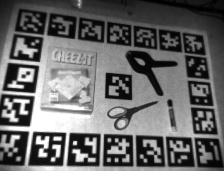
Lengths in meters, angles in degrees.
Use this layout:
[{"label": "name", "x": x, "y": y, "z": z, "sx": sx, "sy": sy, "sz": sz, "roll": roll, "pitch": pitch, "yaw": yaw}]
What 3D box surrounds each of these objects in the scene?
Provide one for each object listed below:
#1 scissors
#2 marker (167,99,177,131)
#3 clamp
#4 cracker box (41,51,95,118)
[{"label": "scissors", "x": 0.081, "y": 0.095, "z": 0.772, "sx": 0.204, "sy": 0.016, "sz": 0.087, "roll": -25, "pitch": 76, "yaw": -22}, {"label": "marker", "x": 0.222, "y": 0.107, "z": 0.797, "sx": 0.020, "sy": 0.019, "sz": 0.120, "roll": 0, "pitch": 70, "yaw": -11}, {"label": "clamp", "x": 0.129, "y": -0.077, "z": 0.849, "sx": 0.203, "sy": 0.036, "sz": 0.166, "roll": 32, "pitch": 66, "yaw": 0}, {"label": "cracker box", "x": -0.144, "y": -0.003, "z": 0.730, "sx": 0.165, "sy": 0.072, "sz": 0.213, "roll": 5, "pitch": 70, "yaw": -10}]
